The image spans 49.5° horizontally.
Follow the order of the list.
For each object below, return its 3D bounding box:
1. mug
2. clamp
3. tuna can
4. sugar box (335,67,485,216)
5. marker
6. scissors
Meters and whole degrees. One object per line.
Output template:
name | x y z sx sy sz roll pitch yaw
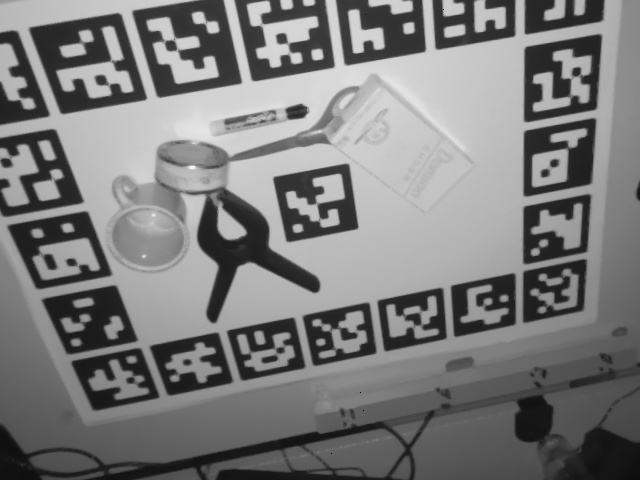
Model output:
mug | -0.195 -0.038 0.830 0.092 0.082 0.117 -34 120 12
clamp | -0.095 0.011 0.903 0.165 0.037 0.202 -19 118 4
tuna can | -0.144 -0.091 0.802 0.086 0.086 0.033 6 118 -9
sugar box | 0.111 -0.114 0.837 0.092 0.045 0.177 -43 121 16
marker | -0.050 -0.153 0.818 0.121 0.020 0.019 -13 118 -1
scissors | 0.001 -0.123 0.837 0.202 0.016 0.087 -18 123 5
